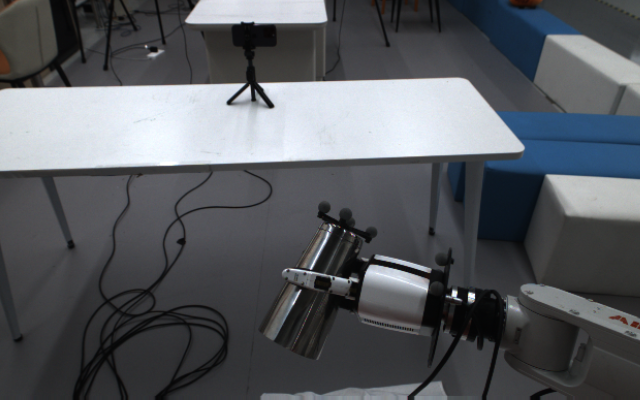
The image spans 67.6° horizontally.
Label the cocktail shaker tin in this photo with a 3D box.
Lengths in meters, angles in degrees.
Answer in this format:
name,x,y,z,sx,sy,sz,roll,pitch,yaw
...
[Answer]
name,x,y,z,sx,sy,sz,roll,pitch,yaw
cocktail shaker tin,-0.004,0.117,0.669,0.093,0.093,0.170,21,81,25
